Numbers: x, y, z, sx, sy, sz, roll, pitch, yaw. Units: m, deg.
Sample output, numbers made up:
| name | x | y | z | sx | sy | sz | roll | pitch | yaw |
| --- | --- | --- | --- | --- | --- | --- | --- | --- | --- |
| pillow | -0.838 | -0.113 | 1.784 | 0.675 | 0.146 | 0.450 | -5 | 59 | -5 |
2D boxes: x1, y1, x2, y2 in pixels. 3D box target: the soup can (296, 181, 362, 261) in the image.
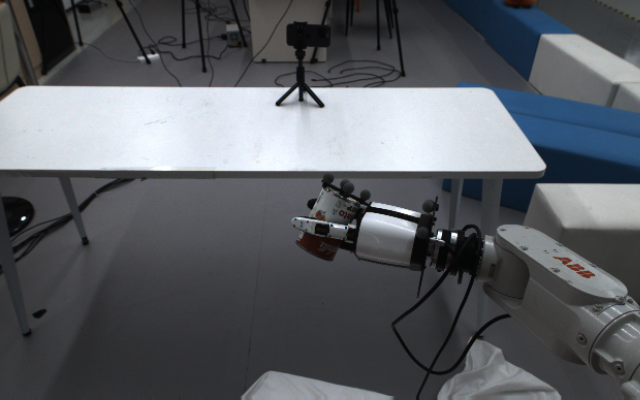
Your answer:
| name | x | y | z | sx | sy | sz | roll | pitch | yaw |
| --- | --- | --- | --- | --- | --- | --- | --- | --- | --- |
| soup can | 0.014 | 0.037 | 0.769 | 0.067 | 0.101 | 0.067 | 26 | 6 | -3 |
